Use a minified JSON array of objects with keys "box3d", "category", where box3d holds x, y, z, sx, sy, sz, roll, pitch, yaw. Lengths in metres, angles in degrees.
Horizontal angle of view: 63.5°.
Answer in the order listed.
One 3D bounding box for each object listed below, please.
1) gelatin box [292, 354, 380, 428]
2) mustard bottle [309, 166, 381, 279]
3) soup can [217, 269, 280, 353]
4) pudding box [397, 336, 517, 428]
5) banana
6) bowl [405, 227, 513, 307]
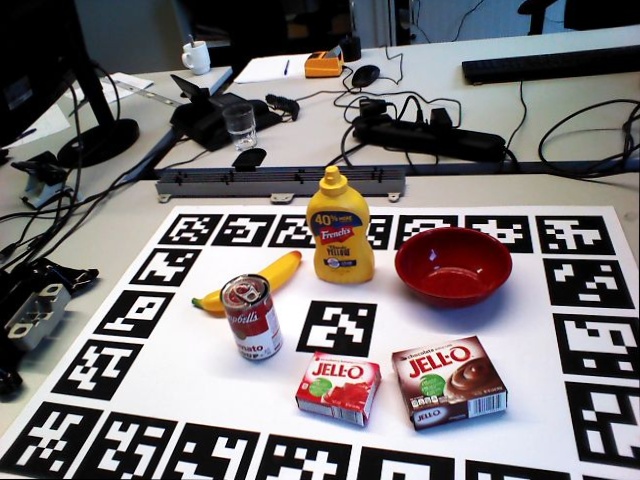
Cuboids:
[{"box3d":[0.020,0.182,0.631,0.090,0.030,0.073,5,42,22],"category":"gelatin box"},{"box3d":[0.035,-0.032,0.763,0.097,0.192,0.058,1,35,16],"category":"mustard bottle"},{"box3d":[-0.095,0.095,0.705,0.068,0.102,0.067,-6,35,4],"category":"soup can"},{"box3d":[0.158,0.163,0.611,0.114,0.039,0.089,-14,41,-3],"category":"pudding box"},{"box3d":[-0.103,0.060,0.826,0.196,0.039,0.074,-28,29,-22],"category":"banana"},{"box3d":[0.207,0.046,0.749,0.162,0.055,0.161,-9,35,6],"category":"bowl"}]
